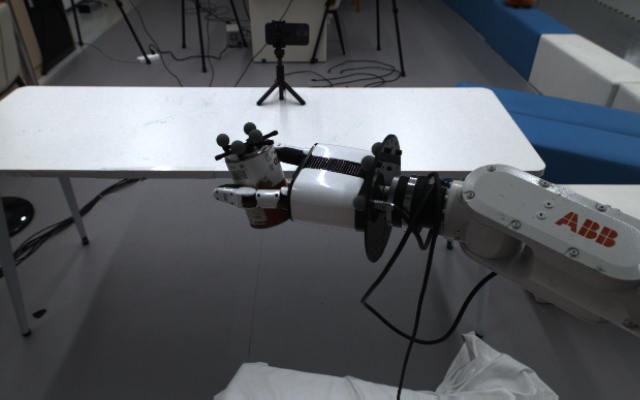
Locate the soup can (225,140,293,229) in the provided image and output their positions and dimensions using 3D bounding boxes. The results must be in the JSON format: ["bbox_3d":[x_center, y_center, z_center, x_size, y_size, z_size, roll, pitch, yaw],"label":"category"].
[{"bbox_3d":[-0.077,-0.021,0.645,0.067,0.101,0.067,-16,23,7],"label":"soup can"}]
